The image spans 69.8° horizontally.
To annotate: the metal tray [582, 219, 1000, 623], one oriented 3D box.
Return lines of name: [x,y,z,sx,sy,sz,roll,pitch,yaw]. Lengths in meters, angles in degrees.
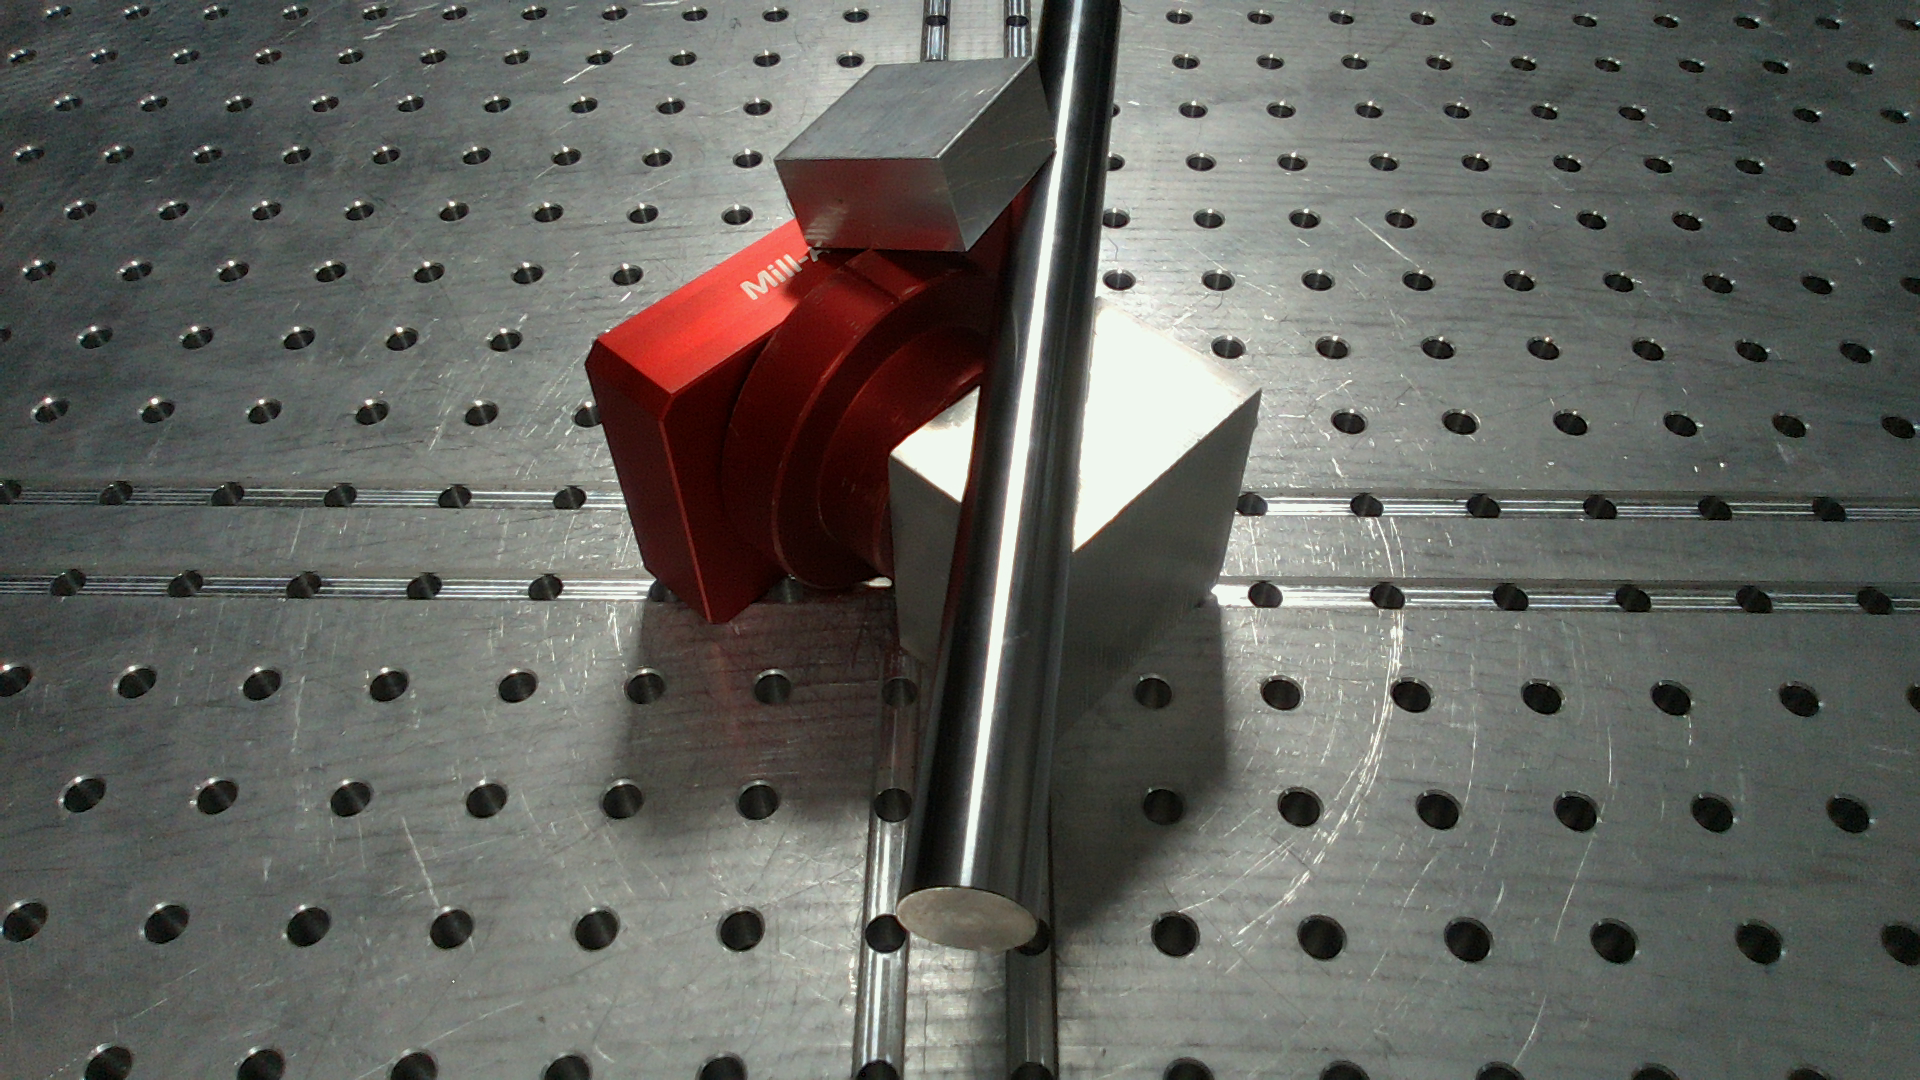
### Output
metal tray: [-0.037,-0.046,0.391,0.030,0.090,0.130,35,58,26]

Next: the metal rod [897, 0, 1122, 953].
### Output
metal rod: [0.020,-0.049,0.331,0.025,0.025,0.300,5,50,5]

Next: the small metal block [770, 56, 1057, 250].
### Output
small metal block: [-0.011,-0.098,0.350,0.050,0.025,0.050,9,46,32]

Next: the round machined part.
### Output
round machined part: [-0.015,-0.027,0.375,0.042,0.098,0.098,35,58,26]

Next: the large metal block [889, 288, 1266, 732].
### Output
large metal block: [0.029,-0.004,0.358,0.050,0.080,0.080,35,58,26]
